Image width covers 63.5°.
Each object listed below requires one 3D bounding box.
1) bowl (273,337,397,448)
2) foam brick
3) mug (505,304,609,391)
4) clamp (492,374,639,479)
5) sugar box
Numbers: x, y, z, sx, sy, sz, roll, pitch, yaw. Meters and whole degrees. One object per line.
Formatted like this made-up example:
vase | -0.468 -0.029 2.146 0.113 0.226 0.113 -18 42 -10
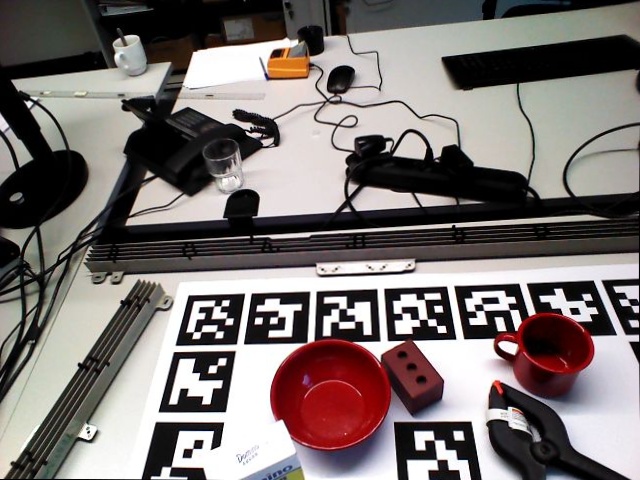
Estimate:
bowl | 0.021 0.208 0.693 0.162 0.055 0.160 -4 47 4
foam brick | 0.139 0.186 0.703 0.052 0.051 0.078 -24 49 -12
mug | 0.305 0.142 0.685 0.118 0.082 0.092 19 53 20
clamp | 0.272 0.249 0.615 0.165 0.037 0.202 -22 48 -8
sugar box | -0.063 0.268 0.568 0.093 0.177 0.045 -21 49 -12
